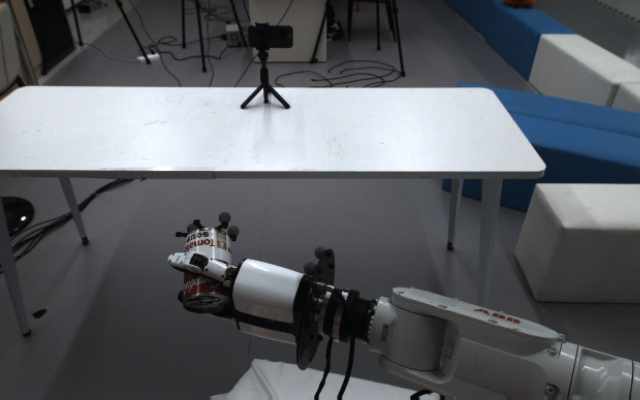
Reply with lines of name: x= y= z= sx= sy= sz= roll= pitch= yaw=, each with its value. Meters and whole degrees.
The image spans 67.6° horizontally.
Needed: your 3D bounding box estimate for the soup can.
soup can: x=-0.156 y=0.100 z=0.678 sx=0.067 sy=0.067 sz=0.101 roll=-5 pitch=57 yaw=-9
